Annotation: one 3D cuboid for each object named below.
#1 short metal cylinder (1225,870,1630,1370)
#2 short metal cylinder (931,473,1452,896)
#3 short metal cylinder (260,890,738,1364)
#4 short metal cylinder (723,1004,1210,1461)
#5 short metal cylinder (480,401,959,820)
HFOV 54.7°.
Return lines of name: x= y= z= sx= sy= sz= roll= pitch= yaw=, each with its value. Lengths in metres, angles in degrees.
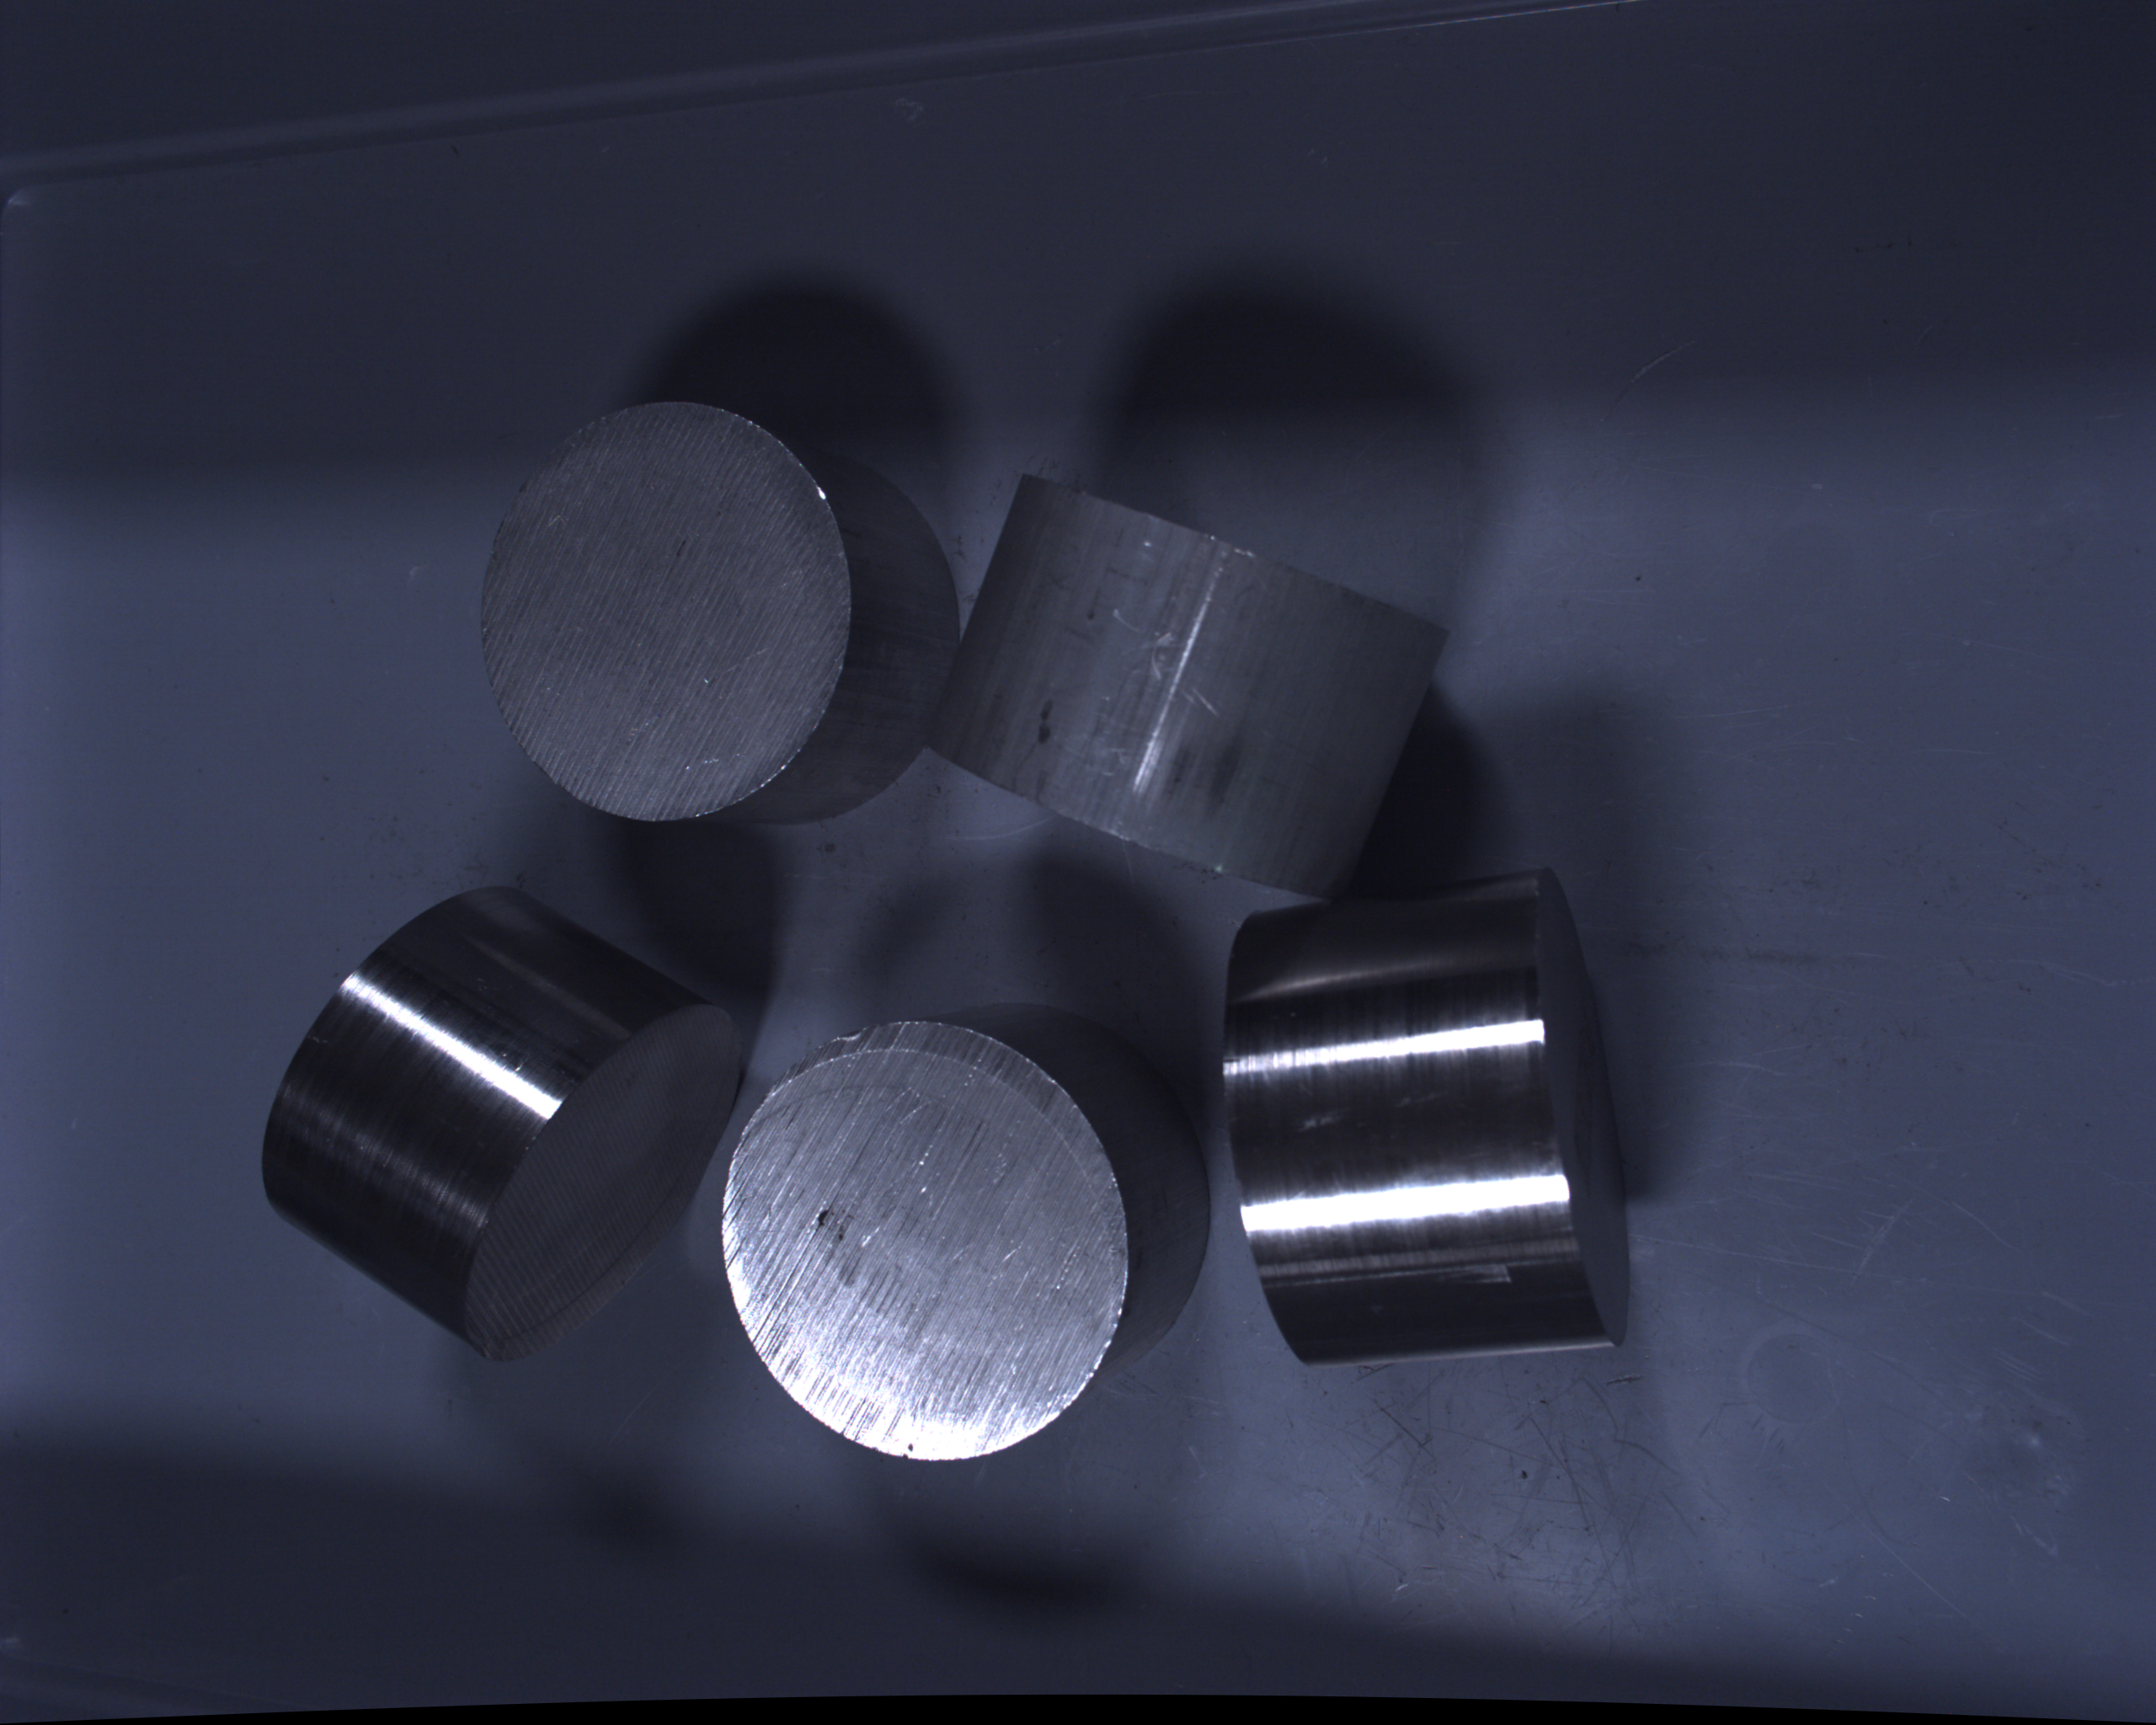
short metal cylinder: x=0.062 y=0.044 z=0.357 sx=0.050 sy=0.080 sz=0.080 roll=-10 pitch=87 yaw=19
short metal cylinder: x=0.020 y=-0.032 z=0.373 sx=0.080 sy=0.080 sz=0.050 roll=23 pitch=98 yaw=18
short metal cylinder: x=-0.113 y=0.052 z=0.417 sx=0.050 sy=0.080 sz=0.080 roll=29 pitch=99 yaw=17
short metal cylinder: x=-0.020 y=0.068 z=0.402 sx=0.080 sy=0.050 sz=0.079 roll=0 pitch=90 yaw=19
short metal cylinder: x=-0.071 y=-0.048 z=0.419 sx=0.080 sy=0.050 sz=0.079 roll=0 pitch=90 yaw=19
